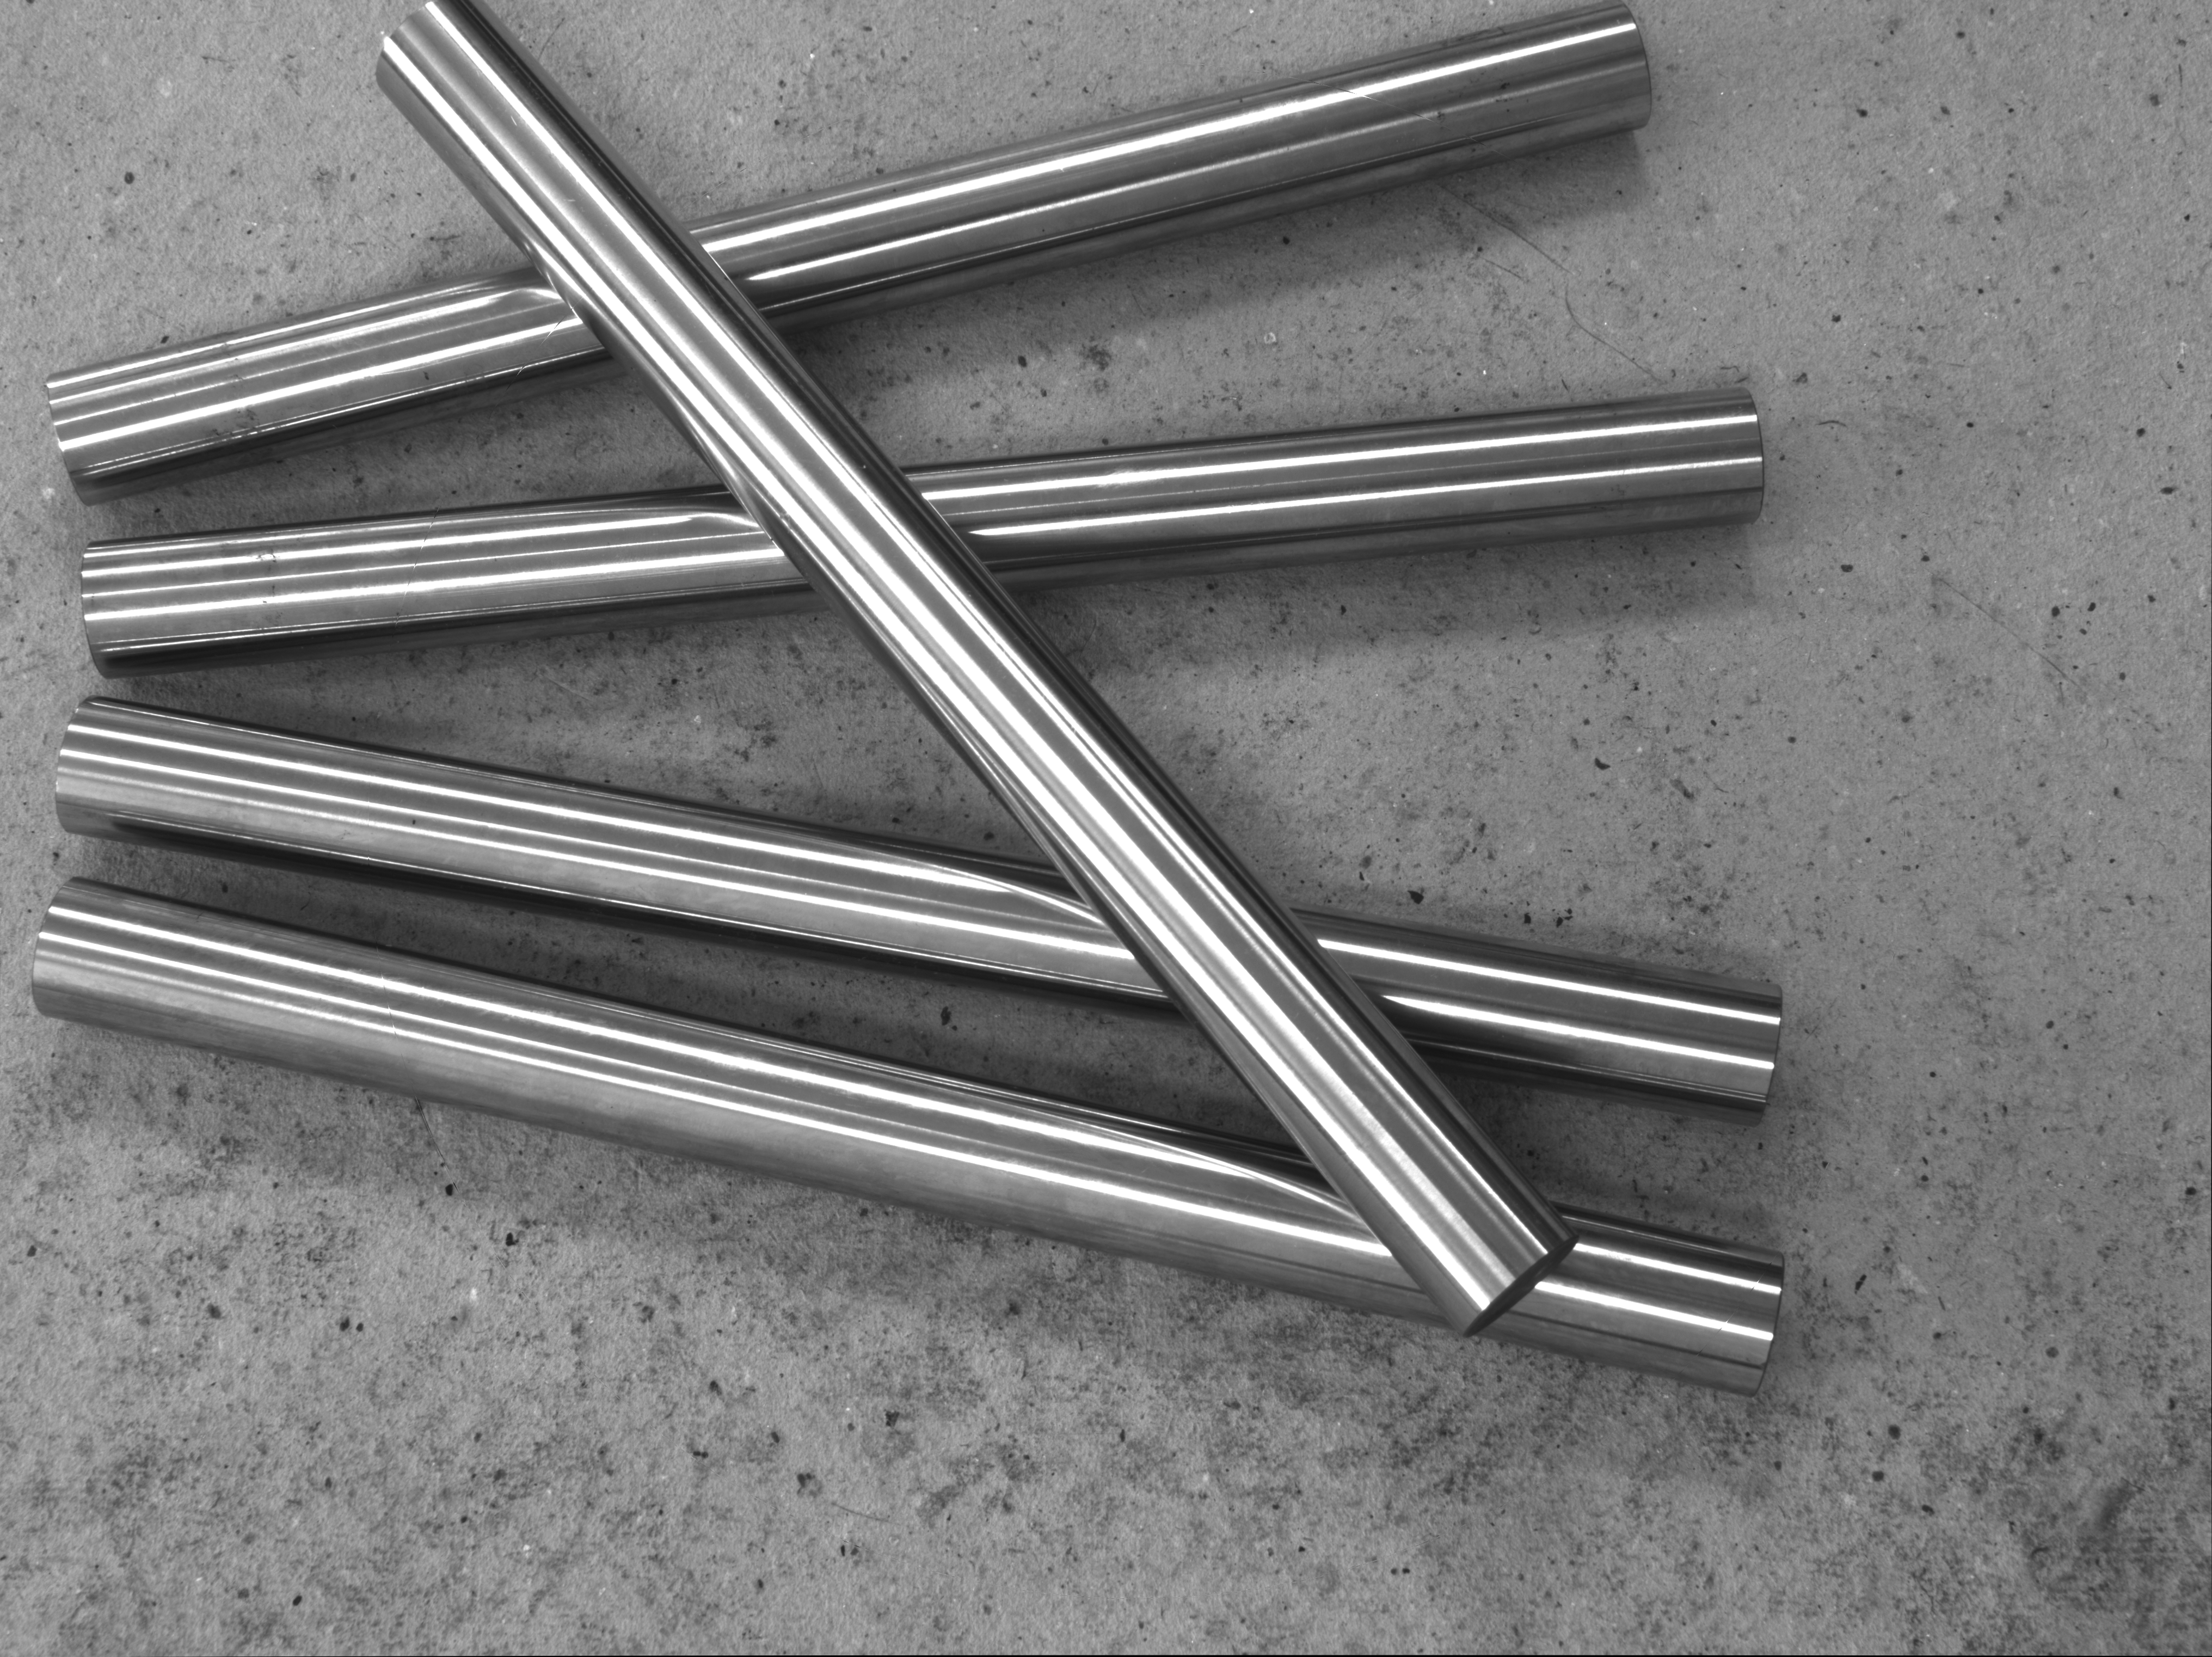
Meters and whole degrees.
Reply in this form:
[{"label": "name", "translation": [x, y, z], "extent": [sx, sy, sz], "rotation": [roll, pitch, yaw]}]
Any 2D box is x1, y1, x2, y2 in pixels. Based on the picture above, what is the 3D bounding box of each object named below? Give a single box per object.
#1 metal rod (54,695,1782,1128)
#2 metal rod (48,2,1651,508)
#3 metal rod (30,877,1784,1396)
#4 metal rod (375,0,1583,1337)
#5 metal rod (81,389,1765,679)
[{"label": "metal rod", "translation": [-0.034, 0.014, 0.640], "extent": [0.300, 0.025, 0.025], "rotation": [10, 70, 3]}, {"label": "metal rod", "translation": [-0.045, -0.108, 0.685], "extent": [0.300, 0.025, 0.025], "rotation": [-14, 70, -5]}, {"label": "metal rod", "translation": [-0.035, 0.052, 0.626], "extent": [0.300, 0.025, 0.025], "rotation": [12, 70, 4]}, {"label": "metal rod", "translation": [-0.028, -0.035, 0.630], "extent": [0.025, 0.025, 0.300], "rotation": [-38, 74, -13]}, {"label": "metal rod", "translation": [-0.032, -0.054, 0.665], "extent": [0.300, 0.025, 0.025], "rotation": [-5, 70, -2]}]
